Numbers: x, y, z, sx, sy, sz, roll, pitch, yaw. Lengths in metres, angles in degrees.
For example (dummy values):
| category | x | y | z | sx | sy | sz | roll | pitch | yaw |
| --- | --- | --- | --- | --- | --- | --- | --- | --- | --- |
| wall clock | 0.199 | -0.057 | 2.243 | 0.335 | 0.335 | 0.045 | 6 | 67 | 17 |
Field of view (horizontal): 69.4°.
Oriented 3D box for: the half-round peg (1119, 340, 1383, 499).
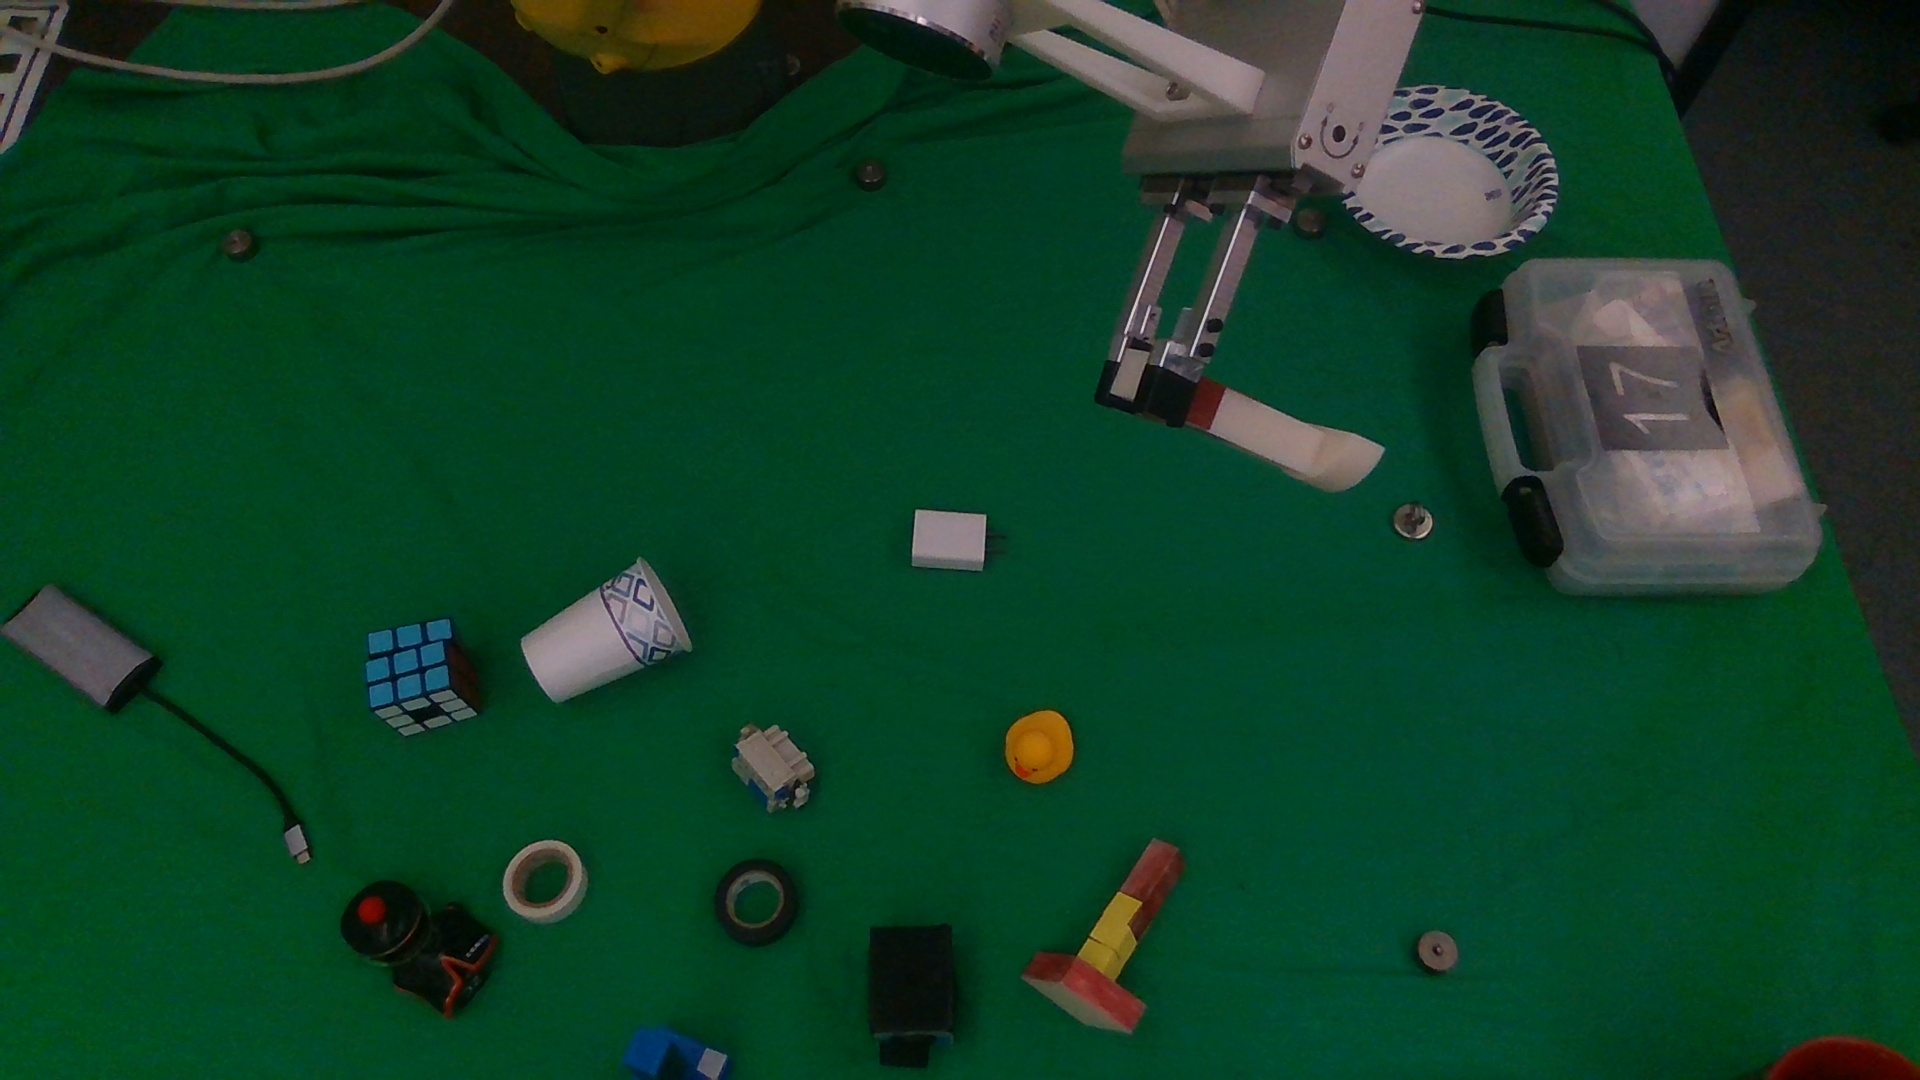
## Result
| category | x | y | z | sx | sy | sz | roll | pitch | yaw |
| --- | --- | --- | --- | --- | --- | --- | --- | --- | --- |
| half-round peg | 0.117 | -0.051 | 0.582 | 0.121 | 0.054 | 0.031 | 22 | 90 | -30 |

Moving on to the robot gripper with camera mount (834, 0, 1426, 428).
| category | x | y | z | sx | sy | sz | roll | pitch | yaw |
| --- | --- | --- | --- | --- | --- | --- | --- | --- | --- |
| robot gripper with camera mount | 0.037 | -0.145 | 0.515 | 0.193 | 0.119 | 0.158 | 19 | 95 | -28 |
